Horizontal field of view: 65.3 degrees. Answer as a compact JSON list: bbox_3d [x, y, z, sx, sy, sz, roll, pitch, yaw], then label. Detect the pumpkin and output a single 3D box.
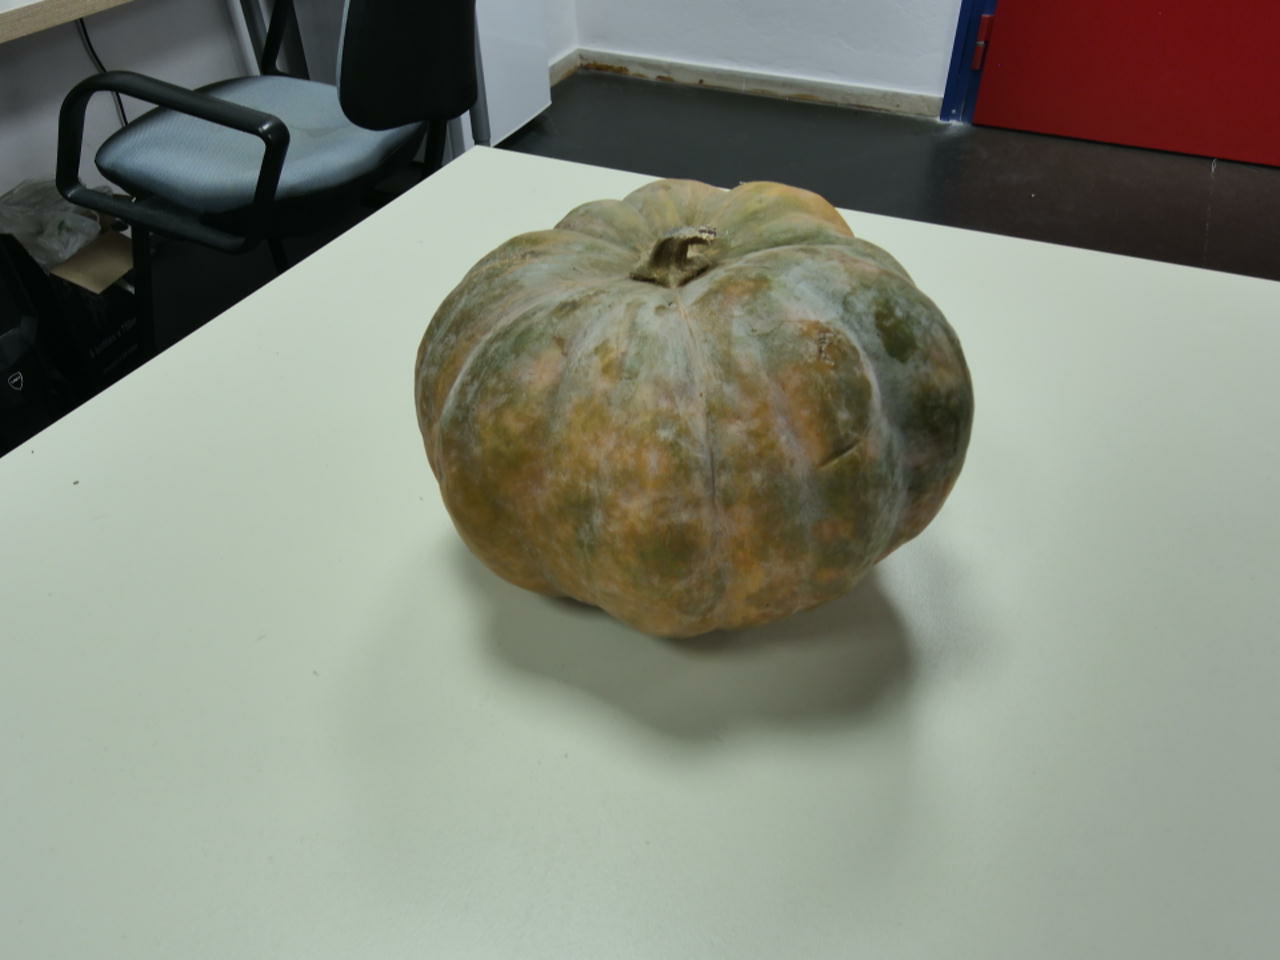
[{"bbox_3d":[0.019,-0.041,0.464,0.252,0.169,0.251,0,38,0],"label":"pumpkin"}]
